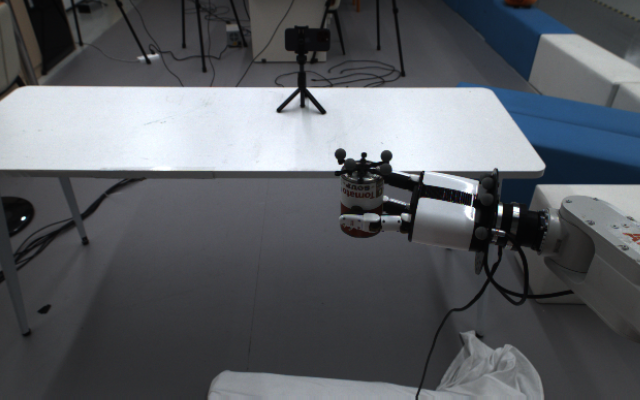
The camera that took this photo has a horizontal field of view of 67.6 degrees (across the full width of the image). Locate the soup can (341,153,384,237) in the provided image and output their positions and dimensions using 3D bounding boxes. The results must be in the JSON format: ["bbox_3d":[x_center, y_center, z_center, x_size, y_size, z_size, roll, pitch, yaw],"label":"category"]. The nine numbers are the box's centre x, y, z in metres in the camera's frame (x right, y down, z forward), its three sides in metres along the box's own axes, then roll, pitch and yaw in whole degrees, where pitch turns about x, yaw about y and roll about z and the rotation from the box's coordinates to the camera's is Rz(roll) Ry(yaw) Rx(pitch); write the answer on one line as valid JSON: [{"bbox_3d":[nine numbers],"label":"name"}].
[{"bbox_3d":[0.066,-0.003,0.746,0.067,0.101,0.067,-2,33,1],"label":"soup can"}]
